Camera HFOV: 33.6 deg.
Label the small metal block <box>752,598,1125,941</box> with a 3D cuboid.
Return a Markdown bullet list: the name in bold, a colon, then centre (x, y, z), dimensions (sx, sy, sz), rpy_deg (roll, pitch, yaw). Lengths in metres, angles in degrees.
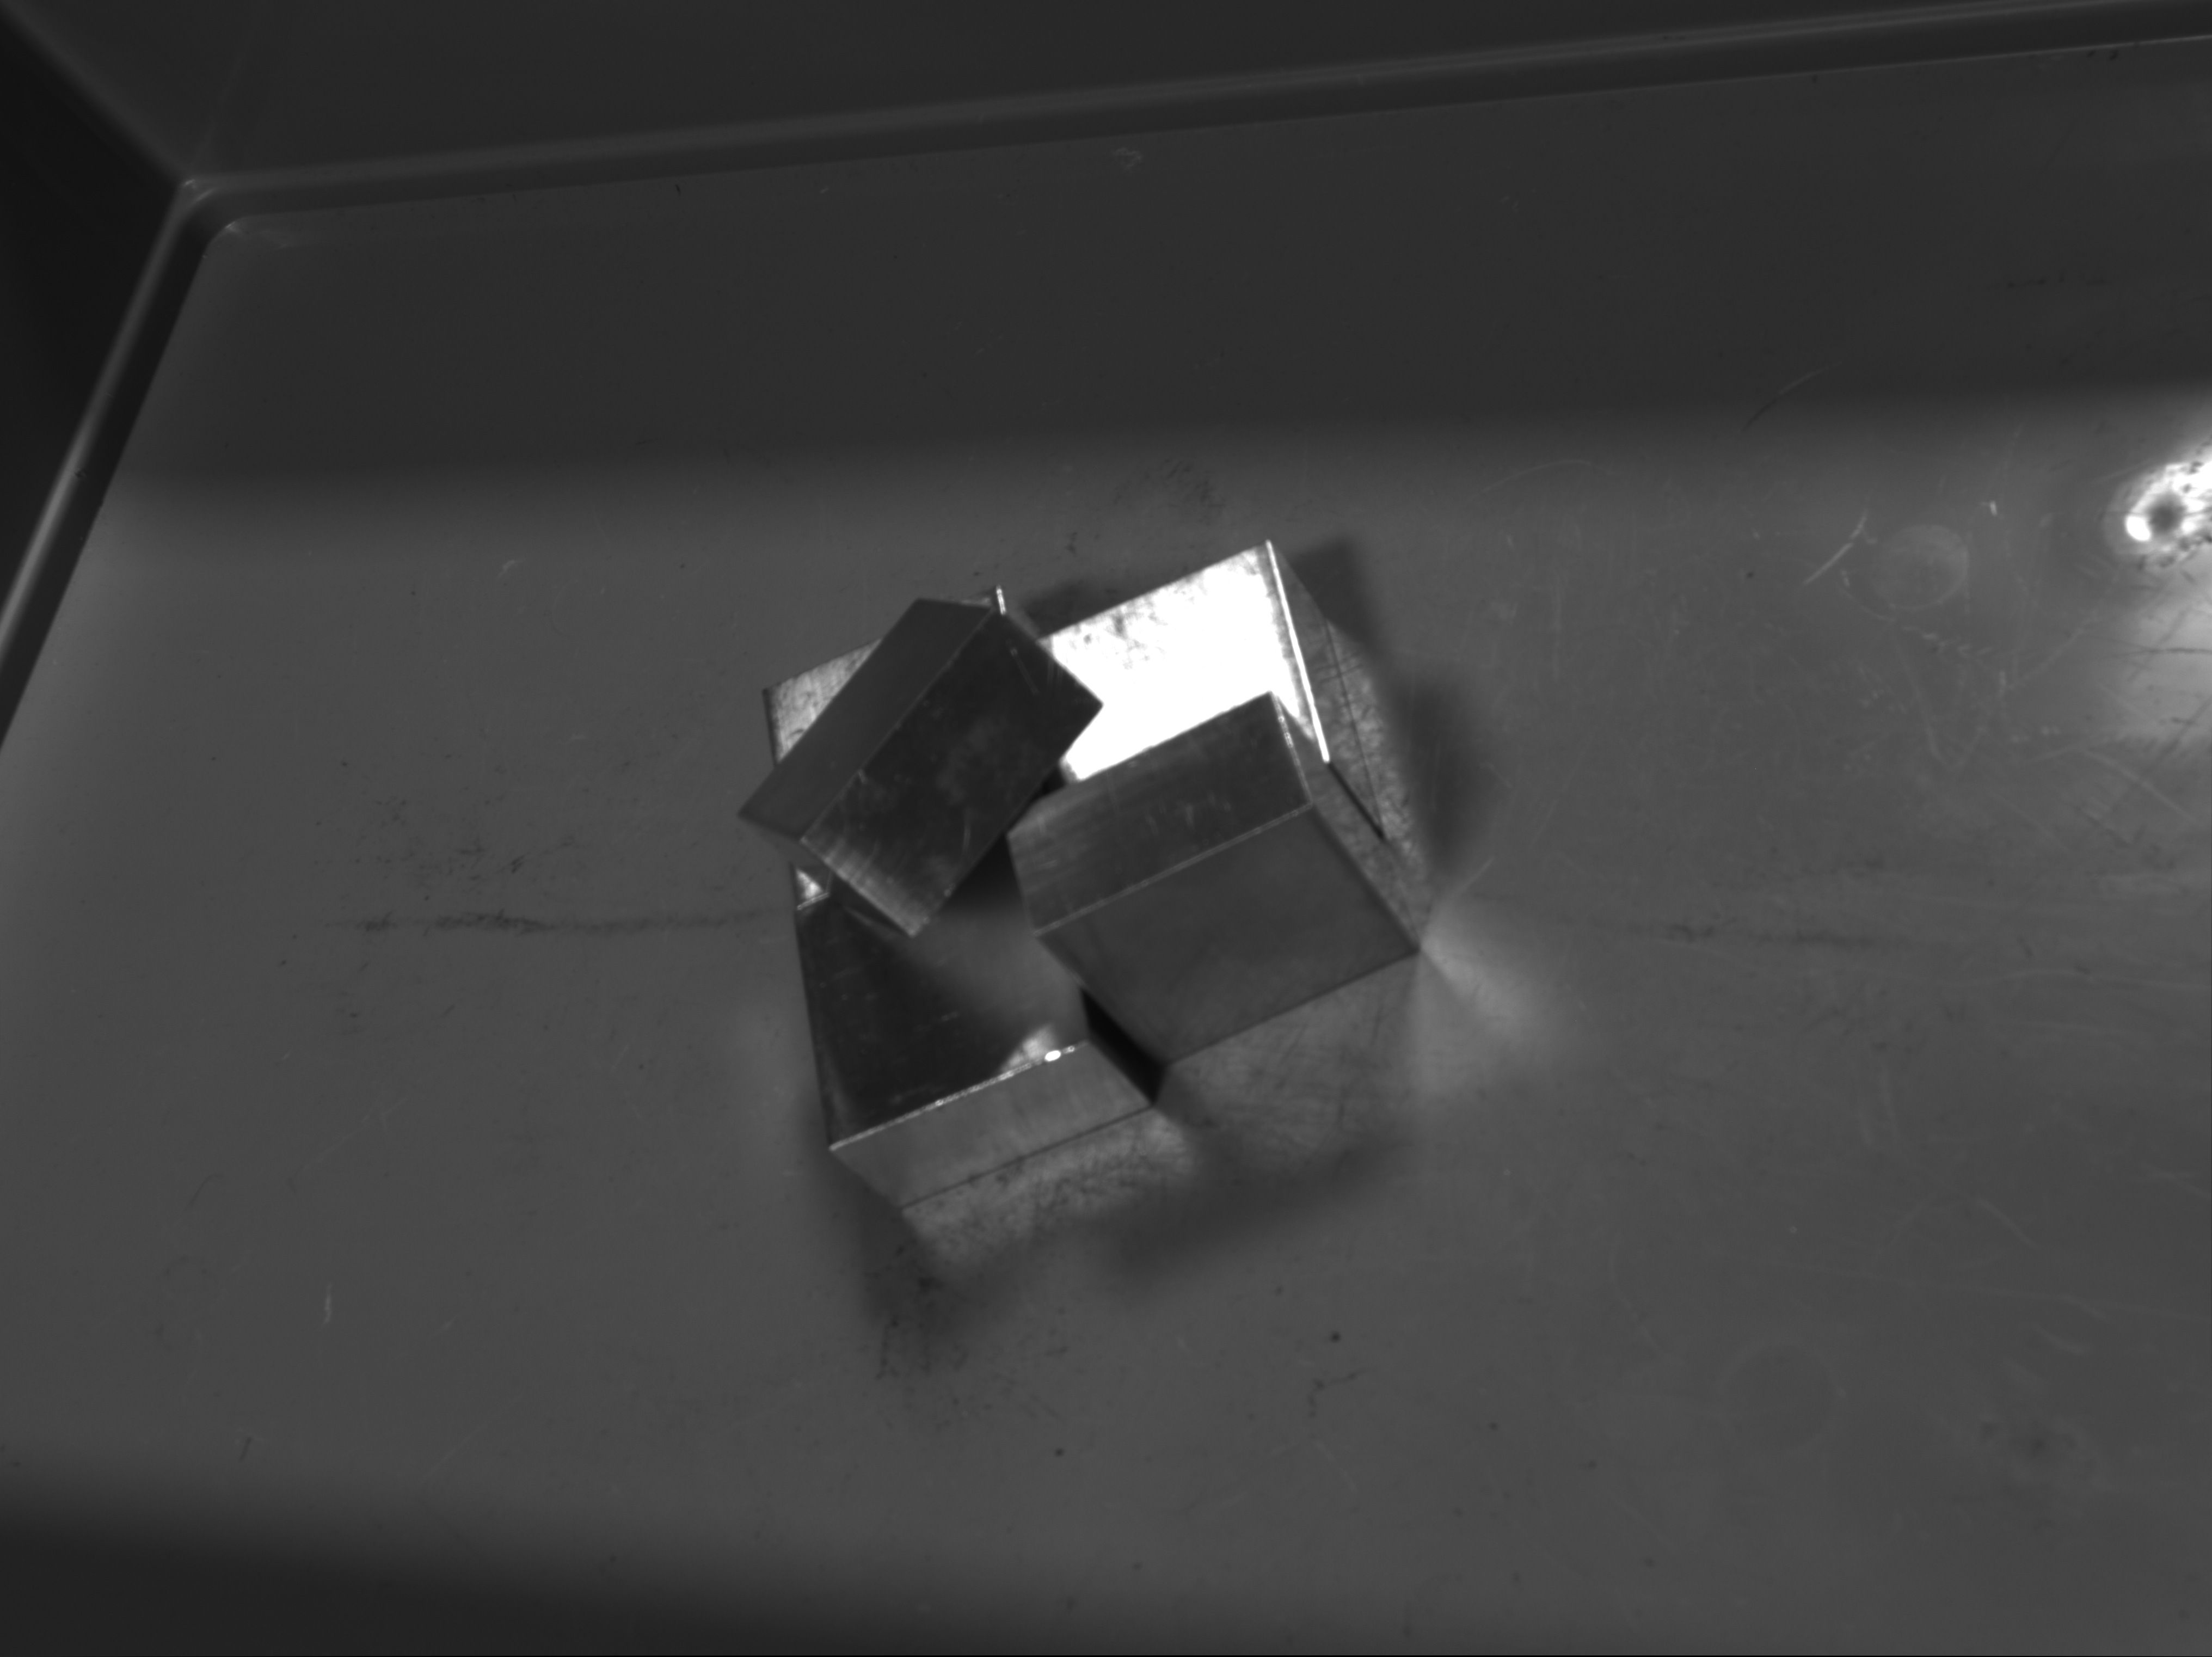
- **small metal block**: centre (-0.029, -0.011, 0.617), dimensions (0.050, 0.025, 0.050), rpy_deg (-50, 17, -7)

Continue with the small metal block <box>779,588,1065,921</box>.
- **small metal block**: centre (-0.029, -0.008, 0.664), dimensions (0.050, 0.025, 0.050), rpy_deg (-23, 53, 15)

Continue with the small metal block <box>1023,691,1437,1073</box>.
- **small metal block**: centre (0.021, 0.010, 0.609), dimensions (0.050, 0.050, 0.025), rpy_deg (-25, 52, 12)

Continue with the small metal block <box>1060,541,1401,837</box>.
- **small metal block**: centre (0.019, -0.015, 0.642), dimensions (0.050, 0.025, 0.050), rpy_deg (-23, 53, 15)

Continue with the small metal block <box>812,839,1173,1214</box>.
- **small metal block**: centre (-0.020, 0.032, 0.634), dimensions (0.050, 0.025, 0.050), rpy_deg (-23, 53, 15)
